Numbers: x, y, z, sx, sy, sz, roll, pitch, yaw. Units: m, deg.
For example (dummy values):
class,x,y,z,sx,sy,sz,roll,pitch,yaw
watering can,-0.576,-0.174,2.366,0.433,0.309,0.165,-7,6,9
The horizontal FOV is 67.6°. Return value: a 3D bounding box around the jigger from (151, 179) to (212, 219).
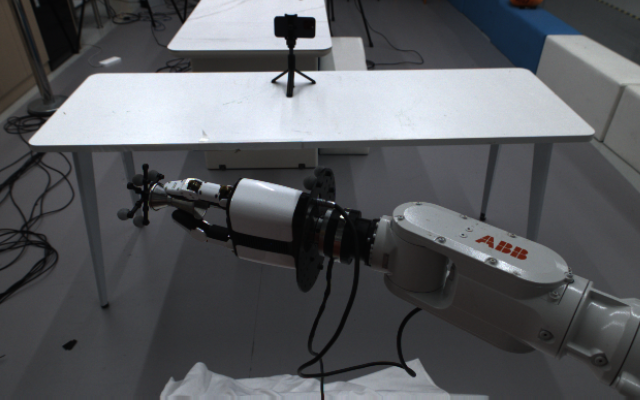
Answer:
class,x,y,z,sx,sy,sz,roll,pitch,yaw
jigger,-0.187,-0.003,0.662,0.071,0.043,0.043,8,35,12
